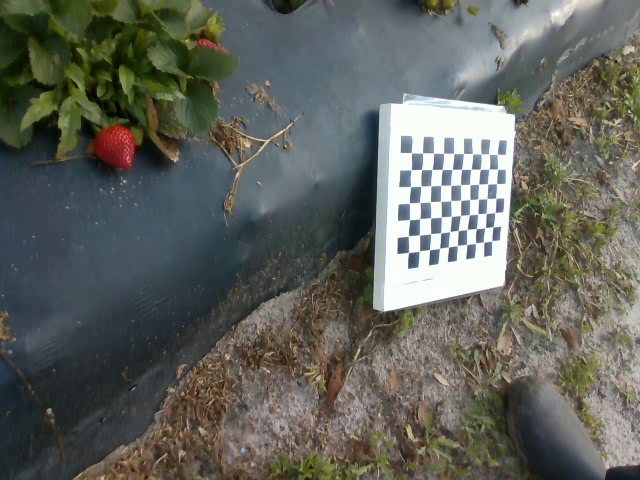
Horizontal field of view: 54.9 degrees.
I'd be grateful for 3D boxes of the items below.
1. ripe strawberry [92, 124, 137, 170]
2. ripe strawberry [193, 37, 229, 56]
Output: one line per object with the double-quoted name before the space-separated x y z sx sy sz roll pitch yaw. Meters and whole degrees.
"ripe strawberry" -0.202 -0.088 0.606 0.043 0.051 0.042 -25 -7 -35
"ripe strawberry" -0.123 -0.207 0.685 0.046 0.043 0.046 -4 6 -9
